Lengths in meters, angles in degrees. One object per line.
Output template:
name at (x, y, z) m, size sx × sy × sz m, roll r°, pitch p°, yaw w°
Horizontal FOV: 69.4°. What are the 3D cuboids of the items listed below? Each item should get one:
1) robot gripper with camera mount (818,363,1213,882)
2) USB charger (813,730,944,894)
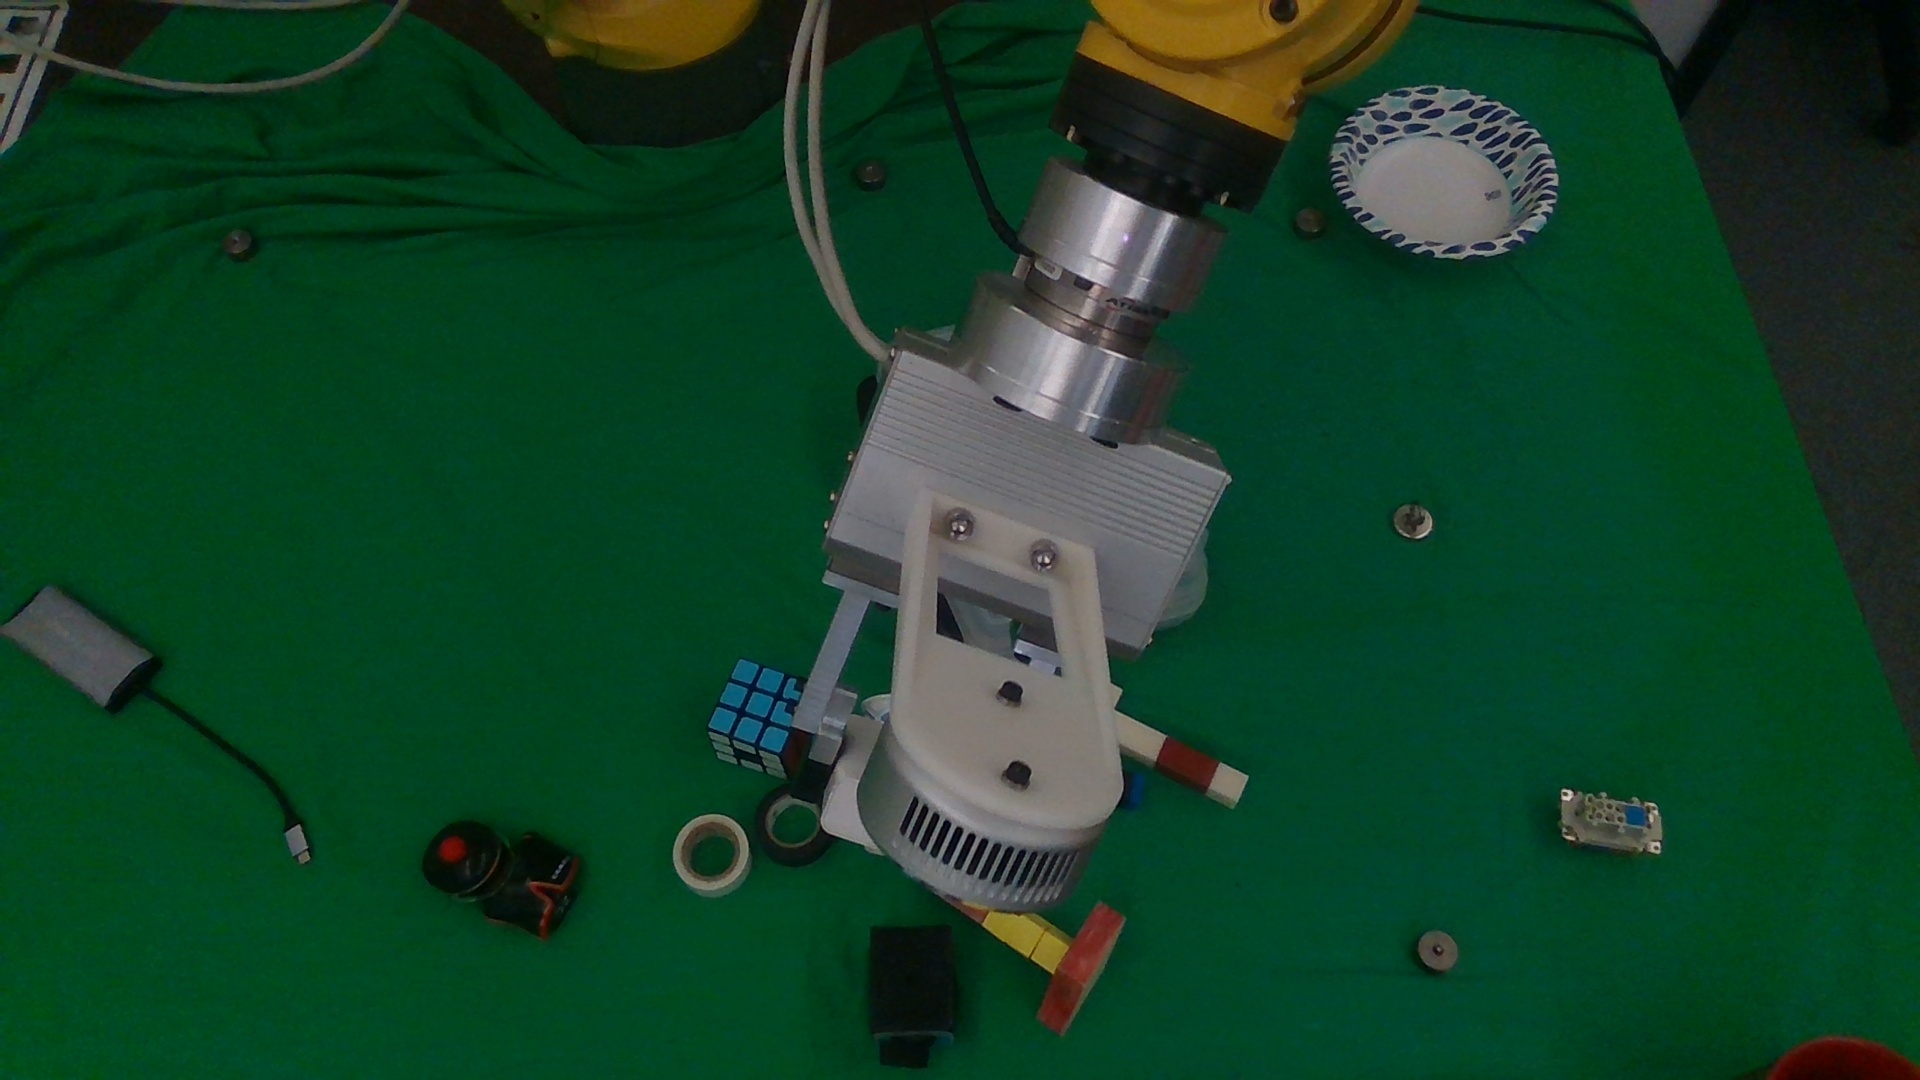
robot gripper with camera mount at (0.005, 0.059, 0.414) m, size 0.119 × 0.193 × 0.159 m, roll 19°, pitch 106°, yaw -9°
USB charger at (-0.028, 0.094, 0.517) m, size 0.044 × 0.029 × 0.075 m, roll 29°, pitch 20°, yaw -5°
